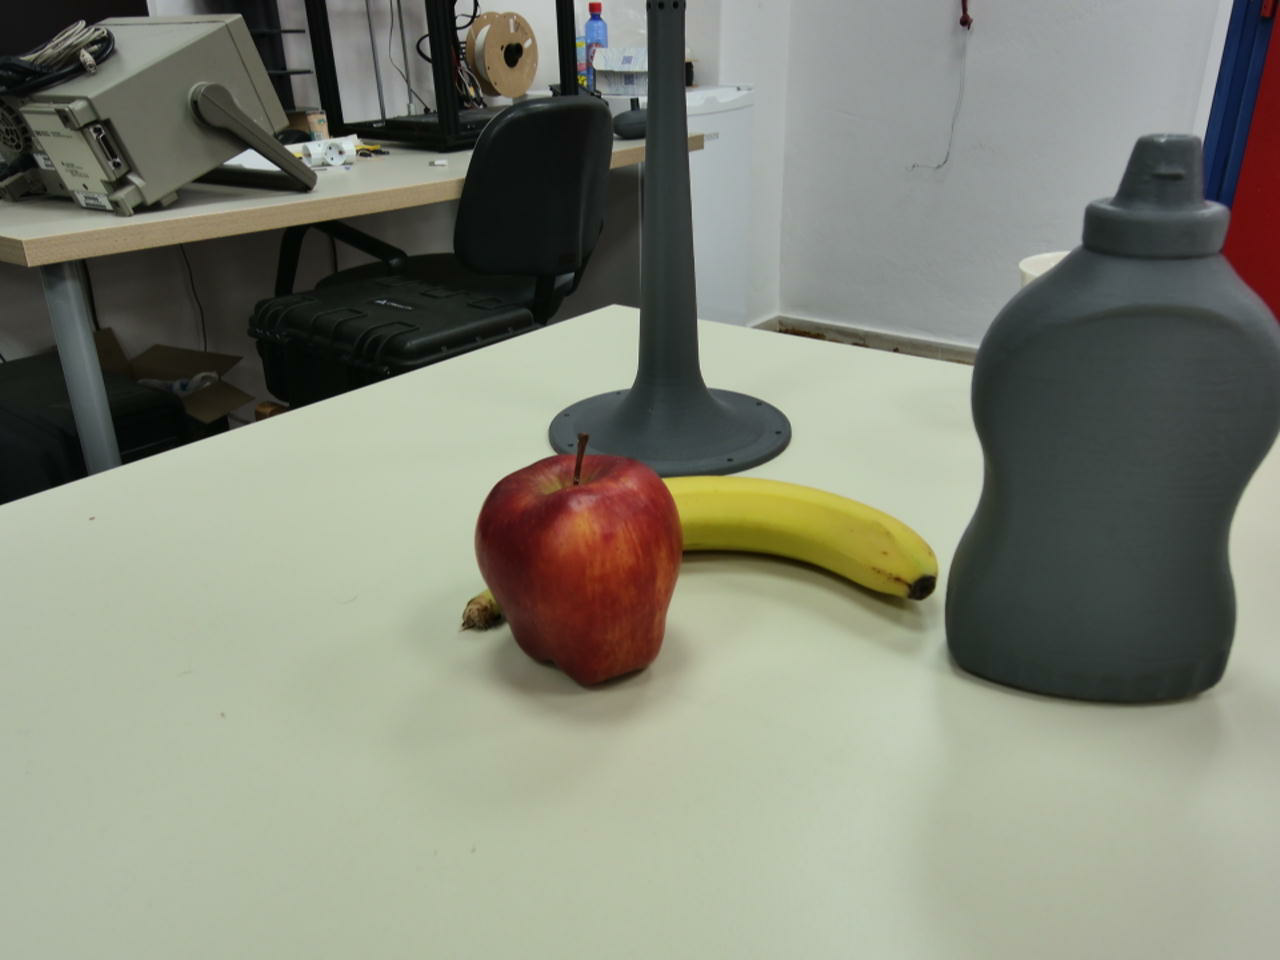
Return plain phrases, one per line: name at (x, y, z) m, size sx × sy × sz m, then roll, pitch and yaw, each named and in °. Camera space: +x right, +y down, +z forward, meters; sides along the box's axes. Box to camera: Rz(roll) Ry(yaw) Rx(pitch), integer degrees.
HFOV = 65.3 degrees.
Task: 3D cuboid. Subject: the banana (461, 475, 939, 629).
banana at (0.026, 0.028, 0.446) m, size 0.196 × 0.041 × 0.094 m, roll 1°, pitch 23°, yaw 3°
